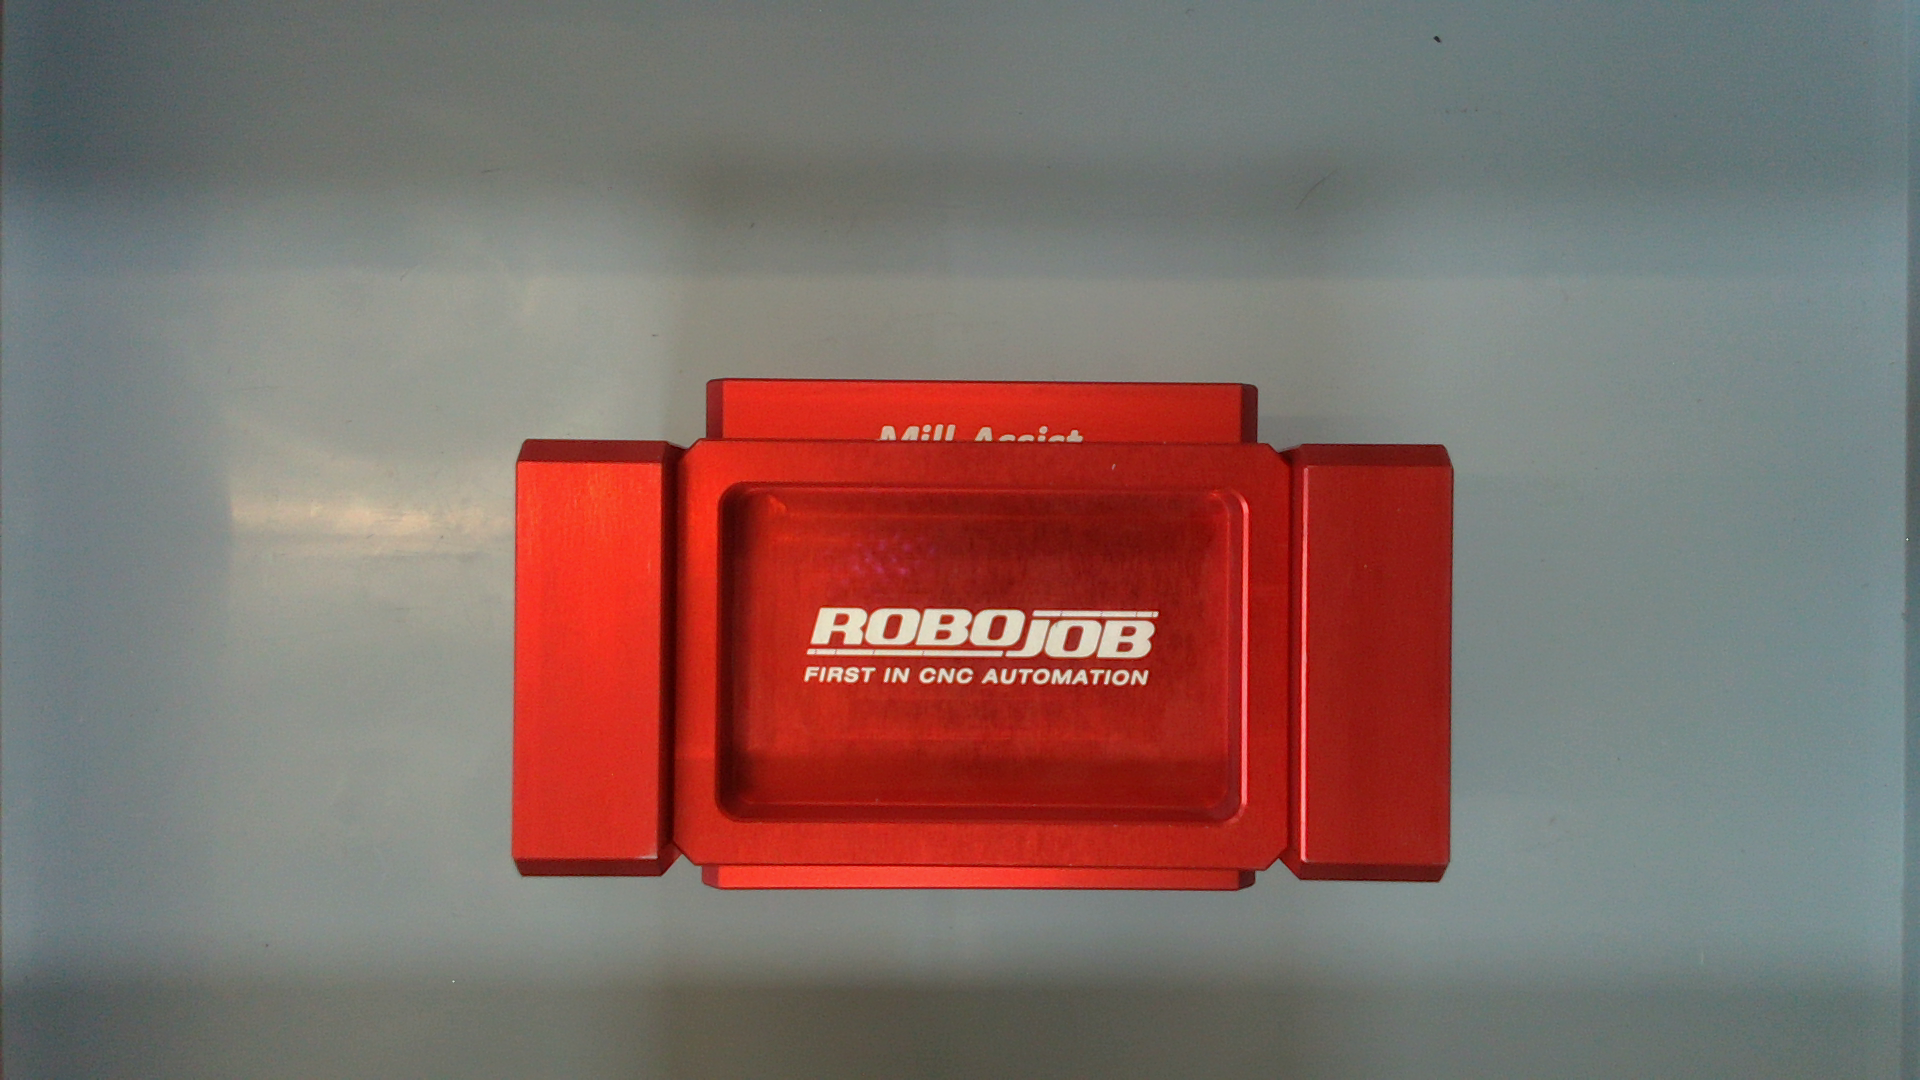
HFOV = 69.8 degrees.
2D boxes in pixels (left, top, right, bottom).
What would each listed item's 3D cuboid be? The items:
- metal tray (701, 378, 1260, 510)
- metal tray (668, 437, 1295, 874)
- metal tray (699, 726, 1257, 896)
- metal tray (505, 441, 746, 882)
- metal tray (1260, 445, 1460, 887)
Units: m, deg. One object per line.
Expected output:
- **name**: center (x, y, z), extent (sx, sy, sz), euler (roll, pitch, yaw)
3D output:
- **metal tray**: center (0.005, -0.023, 0.360), extent (0.130, 0.090, 0.030), euler (0, 91, 0)
- **metal tray**: center (0.005, 0.024, 0.301), extent (0.130, 0.030, 0.090), euler (1, 90, 0)
- **metal tray**: center (0.004, 0.067, 0.360), extent (0.130, 0.090, 0.030), euler (0, 90, 0)
- **metal tray**: center (-0.076, 0.024, 0.341), extent (0.030, 0.130, 0.090), euler (0, 91, 0)
- **metal tray**: center (0.085, 0.025, 0.341), extent (0.030, 0.130, 0.090), euler (1, 91, 0)
